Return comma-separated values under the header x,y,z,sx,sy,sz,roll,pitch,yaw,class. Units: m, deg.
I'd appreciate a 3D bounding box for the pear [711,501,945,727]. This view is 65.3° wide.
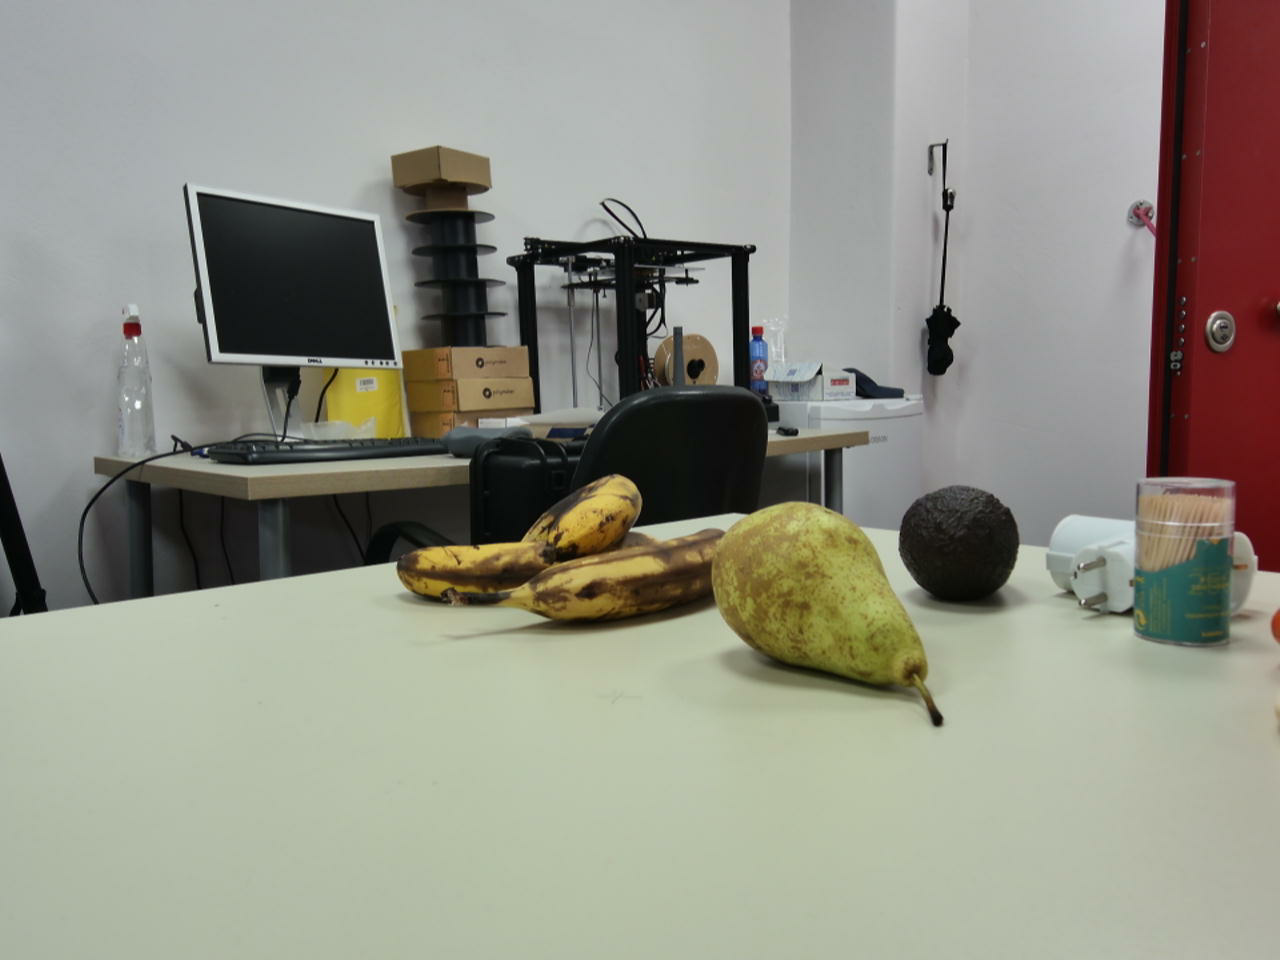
x,y,z,sx,sy,sz,roll,pitch,yaw,class
0.087,0.050,0.439,0.128,0.075,0.071,4,4,41,pear
